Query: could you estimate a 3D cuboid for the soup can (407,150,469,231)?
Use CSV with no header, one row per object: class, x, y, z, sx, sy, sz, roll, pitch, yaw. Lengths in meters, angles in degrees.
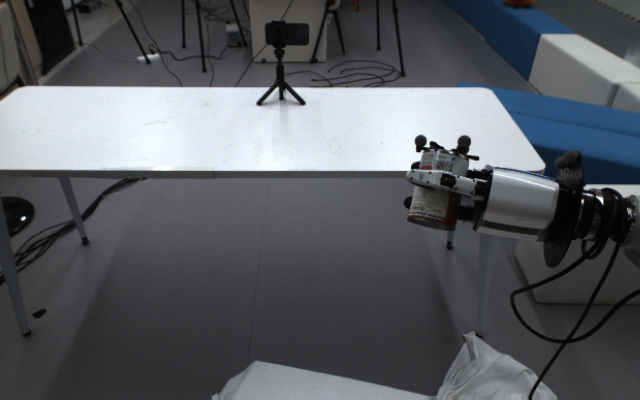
soup can,0.168,-0.014,0.680,0.067,0.101,0.067,13,-7,2
